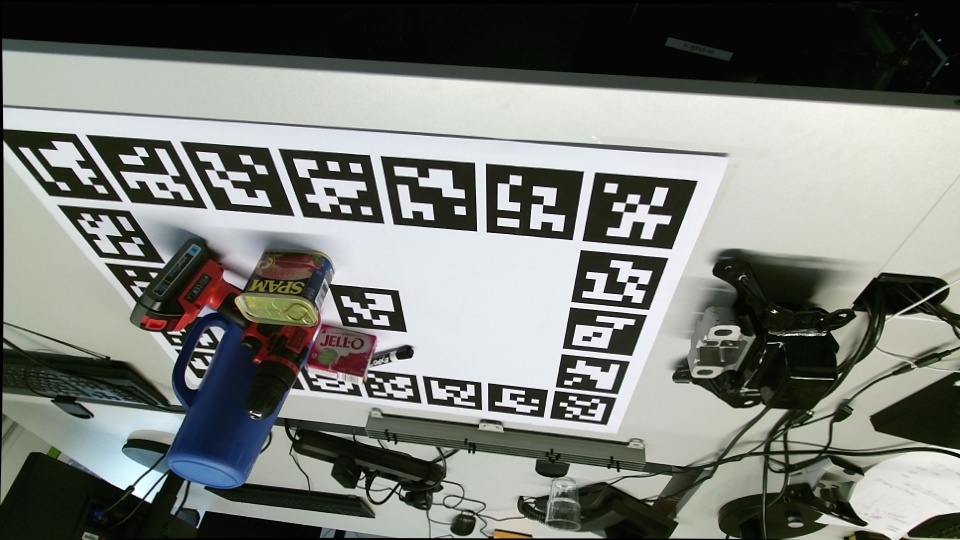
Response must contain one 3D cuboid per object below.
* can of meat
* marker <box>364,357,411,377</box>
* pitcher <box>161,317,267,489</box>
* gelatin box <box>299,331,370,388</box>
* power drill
[{"bbox_3d":[-0.256,0.026,0.705,0.102,0.083,0.058,4,138,7],"label":"can of meat"},{"bbox_3d":[-0.165,0.161,0.875,0.121,0.019,0.020,-16,130,24],"label":"marker"},{"bbox_3d":[-0.377,0.183,0.790,0.189,0.241,0.133,23,132,-22],"label":"pitcher"},{"bbox_3d":[-0.224,0.136,0.825,0.090,0.073,0.030,13,132,-1],"label":"gelatin box"},{"bbox_3d":[-0.328,0.098,0.726,0.187,0.184,0.057,33,129,-14],"label":"power drill"}]
